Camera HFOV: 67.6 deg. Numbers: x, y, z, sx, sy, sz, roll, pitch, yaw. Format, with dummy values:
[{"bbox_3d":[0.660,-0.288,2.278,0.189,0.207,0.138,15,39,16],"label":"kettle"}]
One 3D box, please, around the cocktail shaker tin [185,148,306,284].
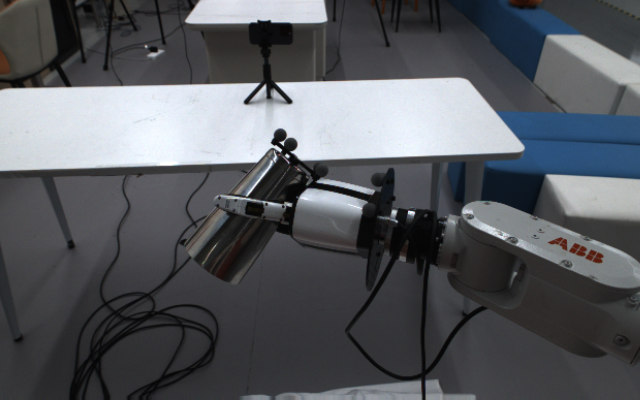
[{"bbox_3d":[-0.090,0.014,0.646,0.170,0.093,0.093,-50,46,4],"label":"cocktail shaker tin"}]
